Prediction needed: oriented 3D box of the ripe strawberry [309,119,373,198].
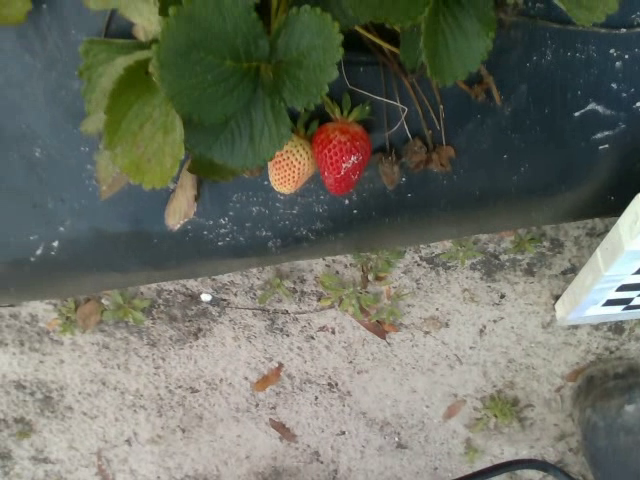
[{"bbox_3d":[0.010,-0.041,0.310,0.034,0.042,0.033,6,6,-20],"label":"ripe strawberry"}]
